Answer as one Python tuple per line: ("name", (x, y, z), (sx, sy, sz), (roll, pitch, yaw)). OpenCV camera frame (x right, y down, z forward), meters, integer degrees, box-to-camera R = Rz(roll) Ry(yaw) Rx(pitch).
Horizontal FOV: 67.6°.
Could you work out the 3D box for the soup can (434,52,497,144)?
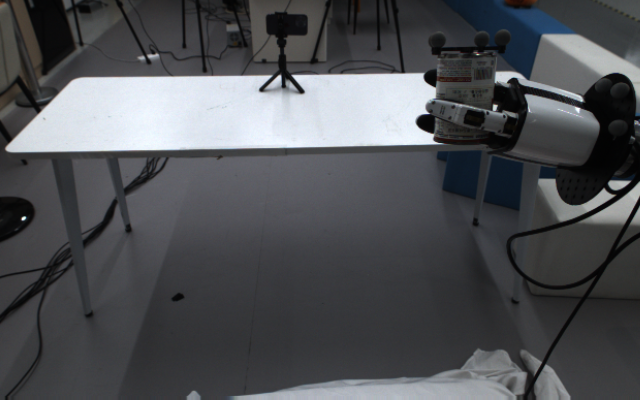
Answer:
("soup can", (0.173, -0.121, 0.572), (0.067, 0.101, 0.067), (-1, 17, 0))
